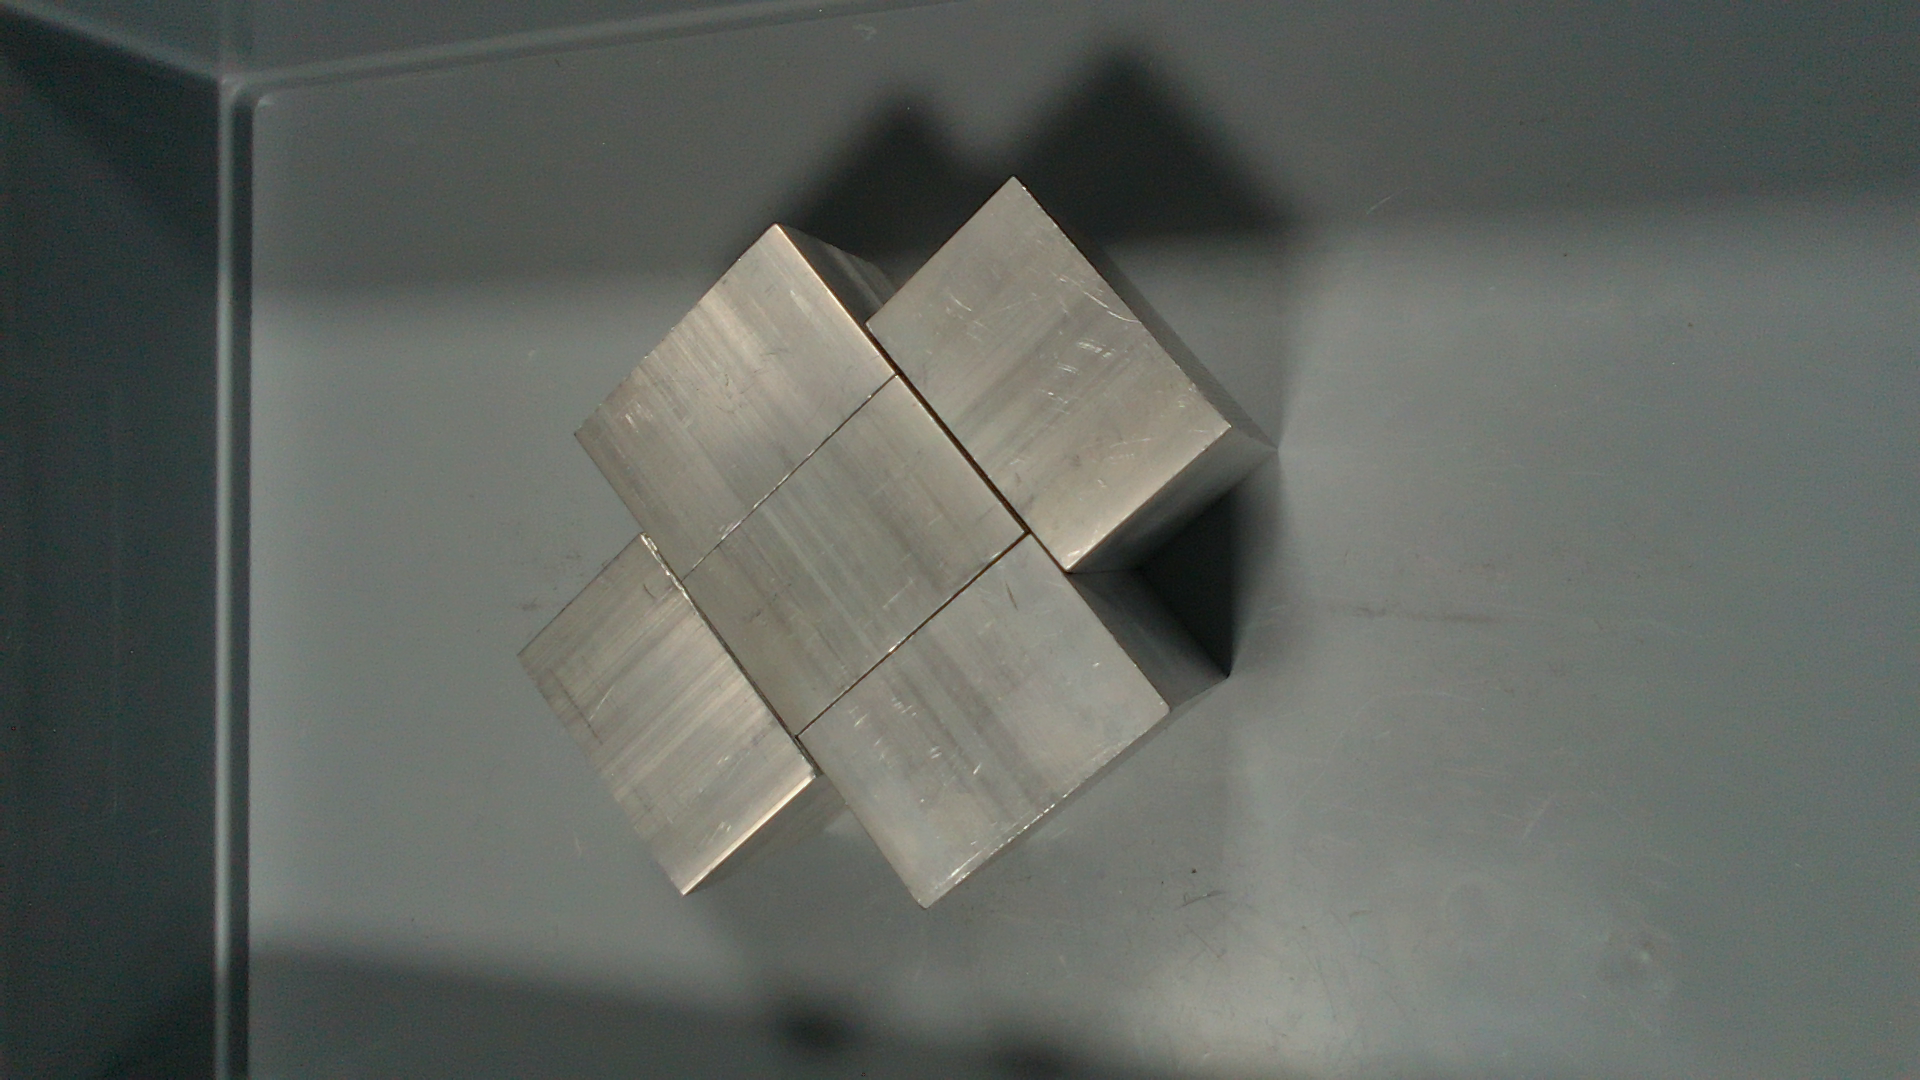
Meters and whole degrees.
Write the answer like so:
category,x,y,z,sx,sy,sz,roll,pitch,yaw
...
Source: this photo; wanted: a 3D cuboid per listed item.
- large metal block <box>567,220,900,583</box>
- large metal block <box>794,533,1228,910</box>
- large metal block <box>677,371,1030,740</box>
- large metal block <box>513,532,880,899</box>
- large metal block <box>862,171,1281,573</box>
category,x,y,z,sx,sy,sz,roll,pitch,yaw
large metal block,-0.045,-0.034,0.382,0.080,0.080,0.050,-42,77,15
large metal block,0.017,0.043,0.361,0.080,0.080,0.050,-42,77,15
large metal block,-0.014,0.004,0.372,0.080,0.080,0.050,-42,77,15
large metal block,-0.063,0.044,0.389,0.050,0.080,0.080,-43,77,15
large metal block,0.032,-0.039,0.355,0.050,0.080,0.080,-43,77,15
